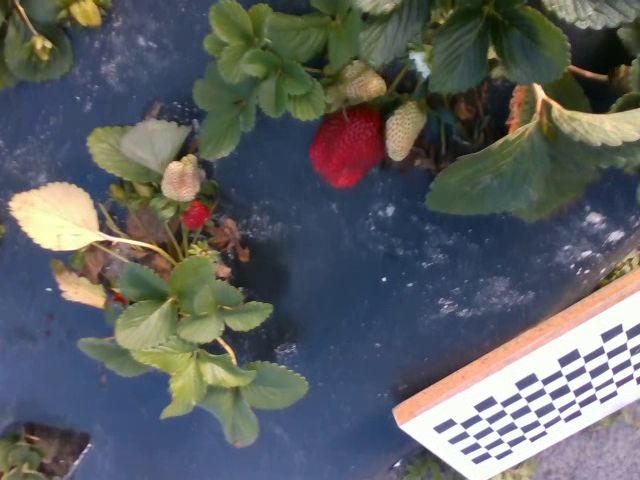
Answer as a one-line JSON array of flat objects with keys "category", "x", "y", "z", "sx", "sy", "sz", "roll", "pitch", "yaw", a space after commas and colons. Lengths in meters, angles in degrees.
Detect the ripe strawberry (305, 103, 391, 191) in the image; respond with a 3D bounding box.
[{"category": "ripe strawberry", "x": 0.022, "y": -0.069, "z": 0.464, "sx": 0.057, "sy": 0.070, "sz": 0.058, "roll": 33, "pitch": -20, "yaw": 38}]
